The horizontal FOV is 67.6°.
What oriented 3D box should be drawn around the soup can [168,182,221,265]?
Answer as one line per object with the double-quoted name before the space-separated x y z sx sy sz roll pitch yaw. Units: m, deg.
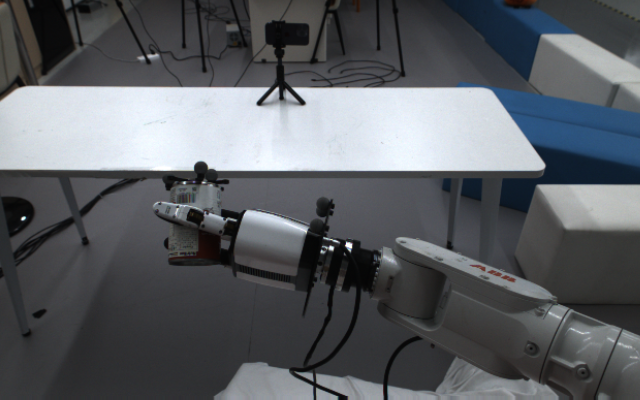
"soup can" -0.161 0.034 0.631 0.067 0.067 0.101 -1 77 -5
